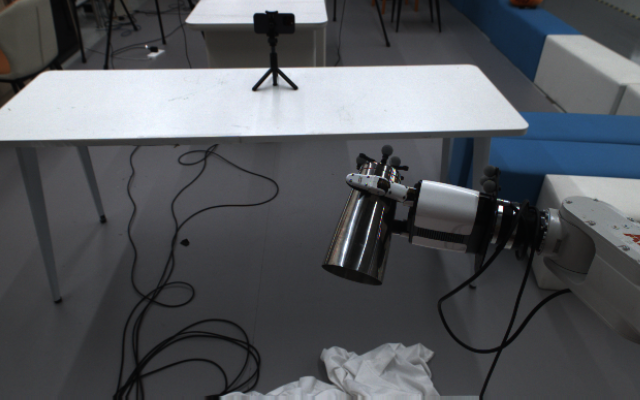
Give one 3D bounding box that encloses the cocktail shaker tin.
[{"bbox_3d":[0.072,0.029,0.731,0.093,0.093,0.170,13,72,15],"label":"cocktail shaker tin"}]
